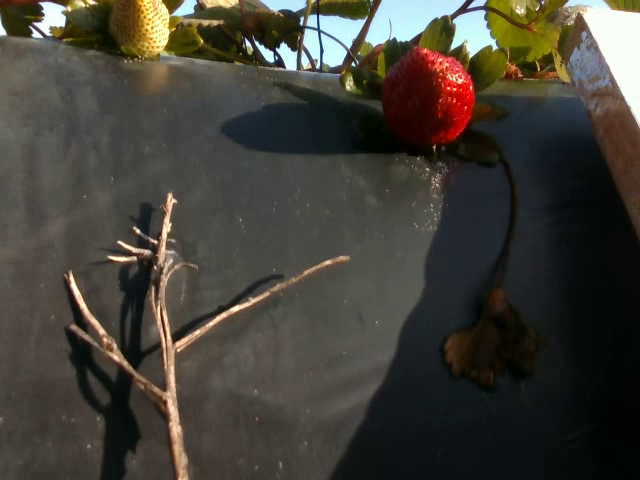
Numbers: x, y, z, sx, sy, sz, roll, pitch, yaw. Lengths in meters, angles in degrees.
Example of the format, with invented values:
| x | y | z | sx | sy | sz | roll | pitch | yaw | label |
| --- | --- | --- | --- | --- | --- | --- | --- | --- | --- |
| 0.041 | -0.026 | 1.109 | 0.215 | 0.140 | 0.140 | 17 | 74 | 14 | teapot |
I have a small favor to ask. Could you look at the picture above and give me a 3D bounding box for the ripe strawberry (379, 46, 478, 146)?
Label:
| x | y | z | sx | sy | sz | roll | pitch | yaw | label |
| --- | --- | --- | --- | --- | --- | --- | --- | --- | --- |
| 0.014 | -0.019 | 0.079 | 0.015 | 0.015 | 0.023 | 12 | -4 | 3 | ripe strawberry |
